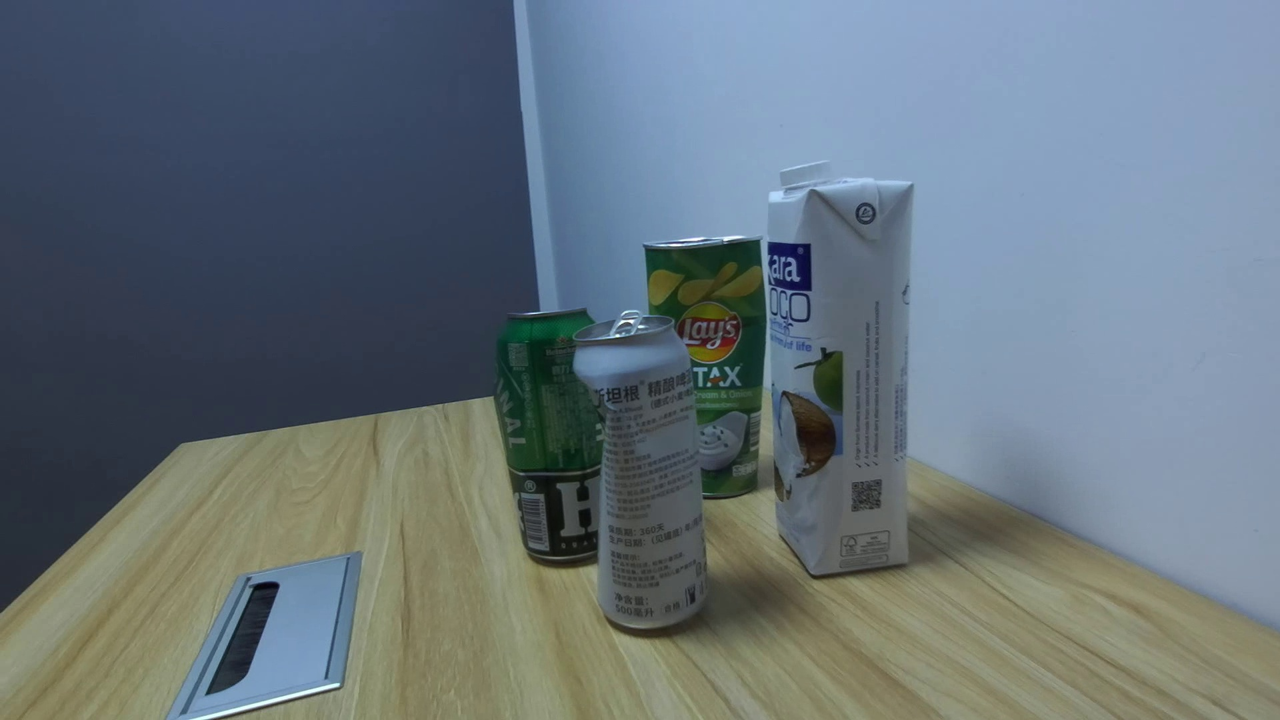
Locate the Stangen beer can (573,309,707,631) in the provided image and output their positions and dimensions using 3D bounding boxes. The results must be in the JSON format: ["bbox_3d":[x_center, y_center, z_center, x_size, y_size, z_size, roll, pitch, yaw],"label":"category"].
[{"bbox_3d":[-0.002,0.062,0.395,0.069,0.173,0.070,4,14,38],"label":"Stangen beer can"}]

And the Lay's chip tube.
[{"bbox_3d":[0.056,0.006,0.562,0.075,0.199,0.068,-11,13,-23],"label":"Lay's chip tube"}]

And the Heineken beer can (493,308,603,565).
[{"bbox_3d":[-0.054,0.051,0.483,0.069,0.168,0.068,-10,8,-42],"label":"Heineken beer can"}]

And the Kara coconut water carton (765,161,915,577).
[{"bbox_3d":[0.121,0.005,0.436,0.075,0.245,0.077,-6,12,-9],"label":"Kara coconut water carton"}]
